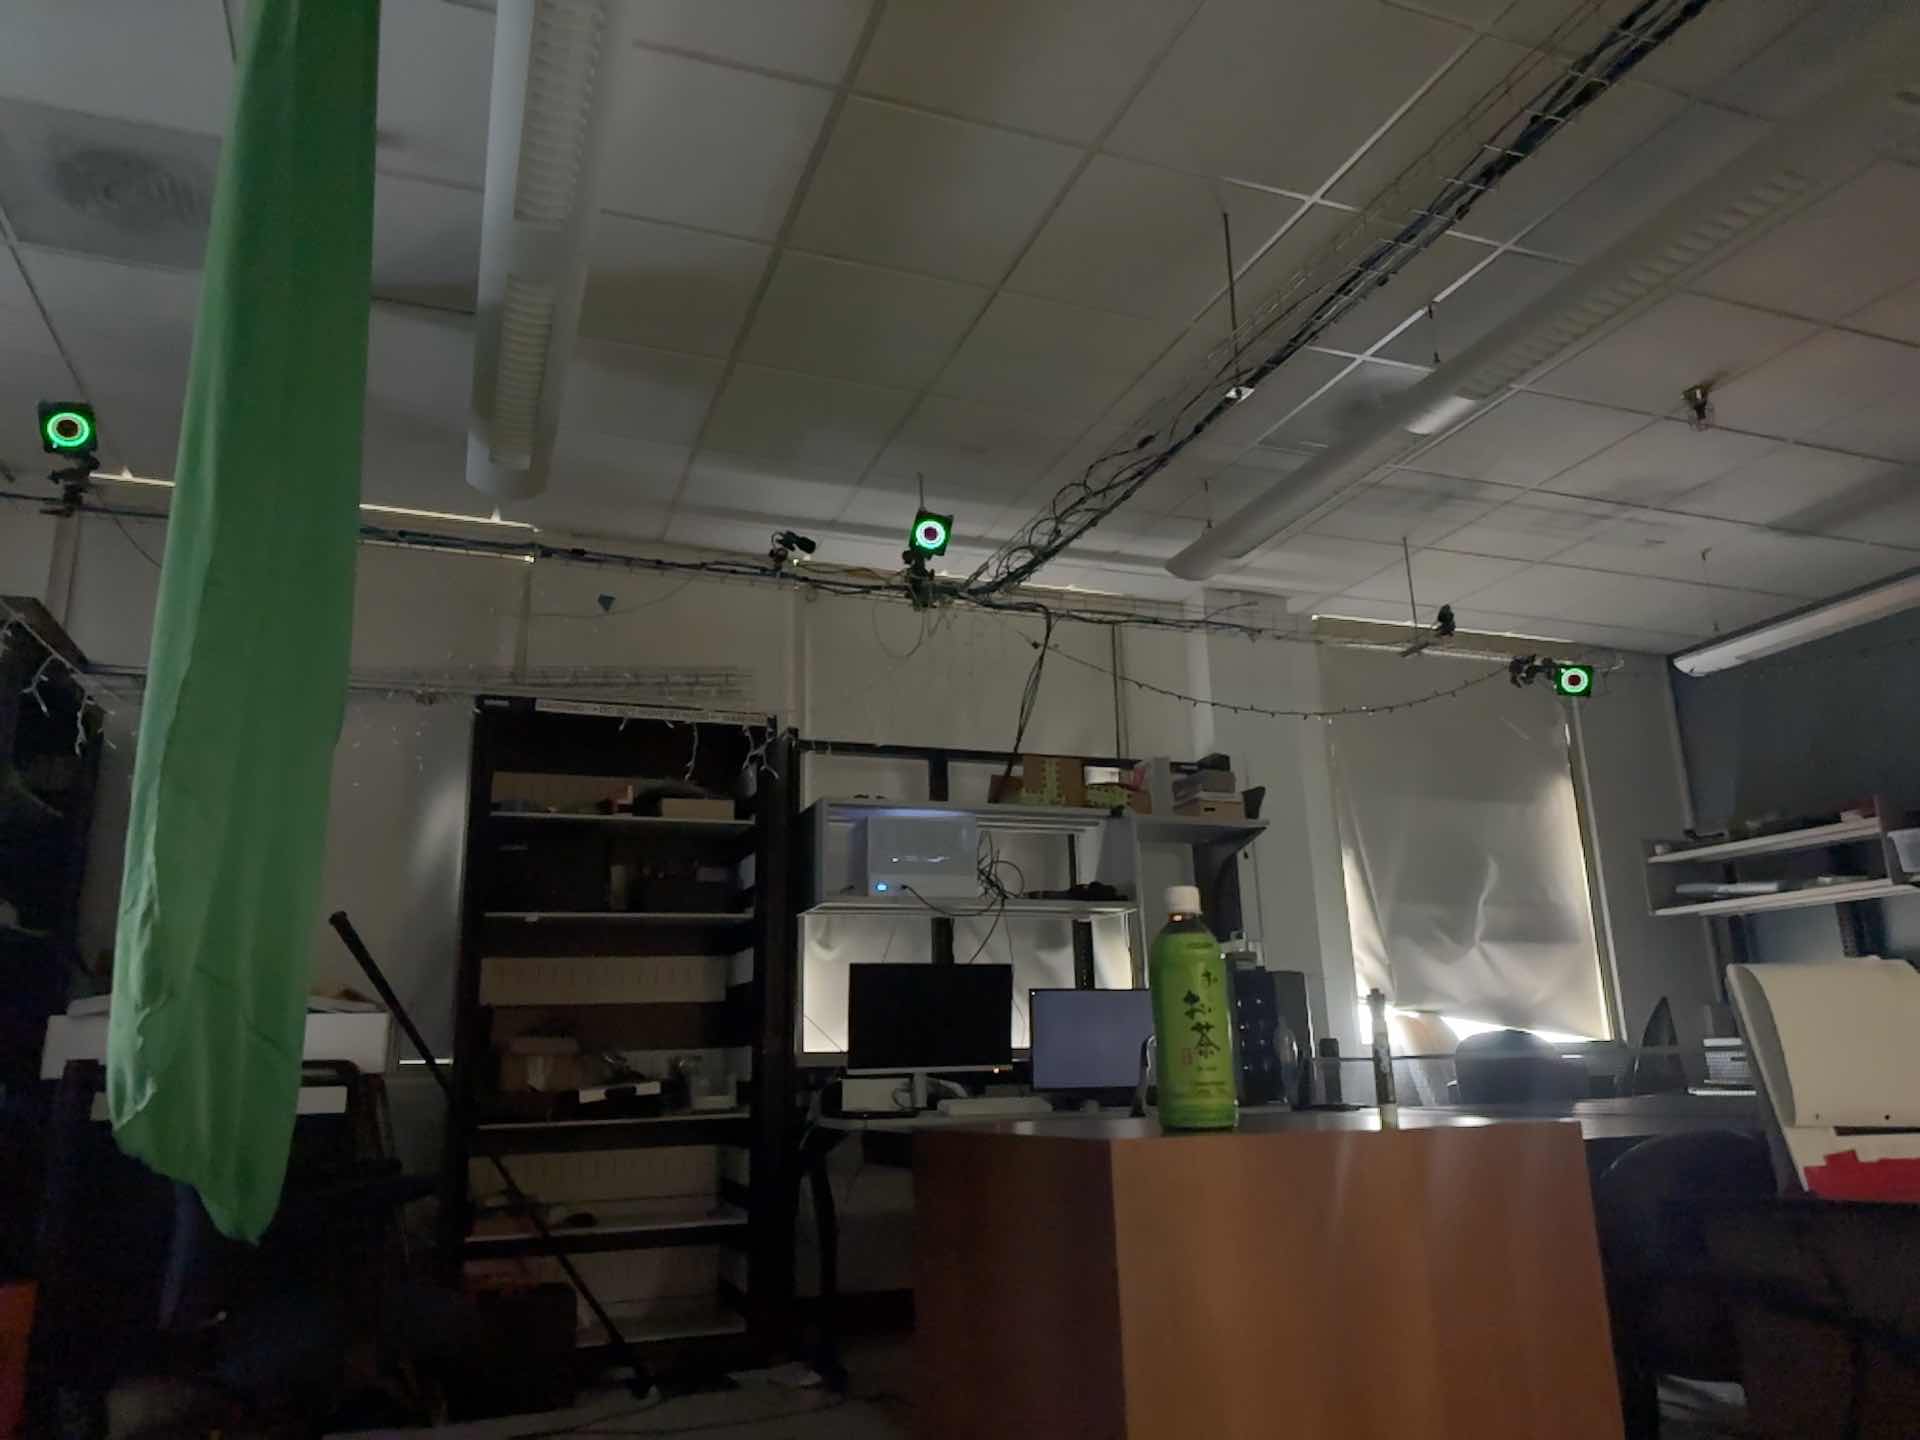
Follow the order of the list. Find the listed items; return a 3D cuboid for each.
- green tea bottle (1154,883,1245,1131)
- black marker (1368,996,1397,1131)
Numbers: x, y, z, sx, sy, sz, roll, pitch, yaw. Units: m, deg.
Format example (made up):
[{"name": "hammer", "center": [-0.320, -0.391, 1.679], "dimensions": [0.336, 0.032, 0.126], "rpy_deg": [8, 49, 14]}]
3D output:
[{"name": "green tea bottle", "center": [0.207, 0.250, 1.185], "dimensions": [0.073, 0.212, 0.073], "rpy_deg": [-3, -15, -1]}, {"name": "black marker", "center": [0.393, 0.320, 1.253], "dimensions": [0.020, 0.121, 0.020], "rpy_deg": [1, -15, 0]}]
